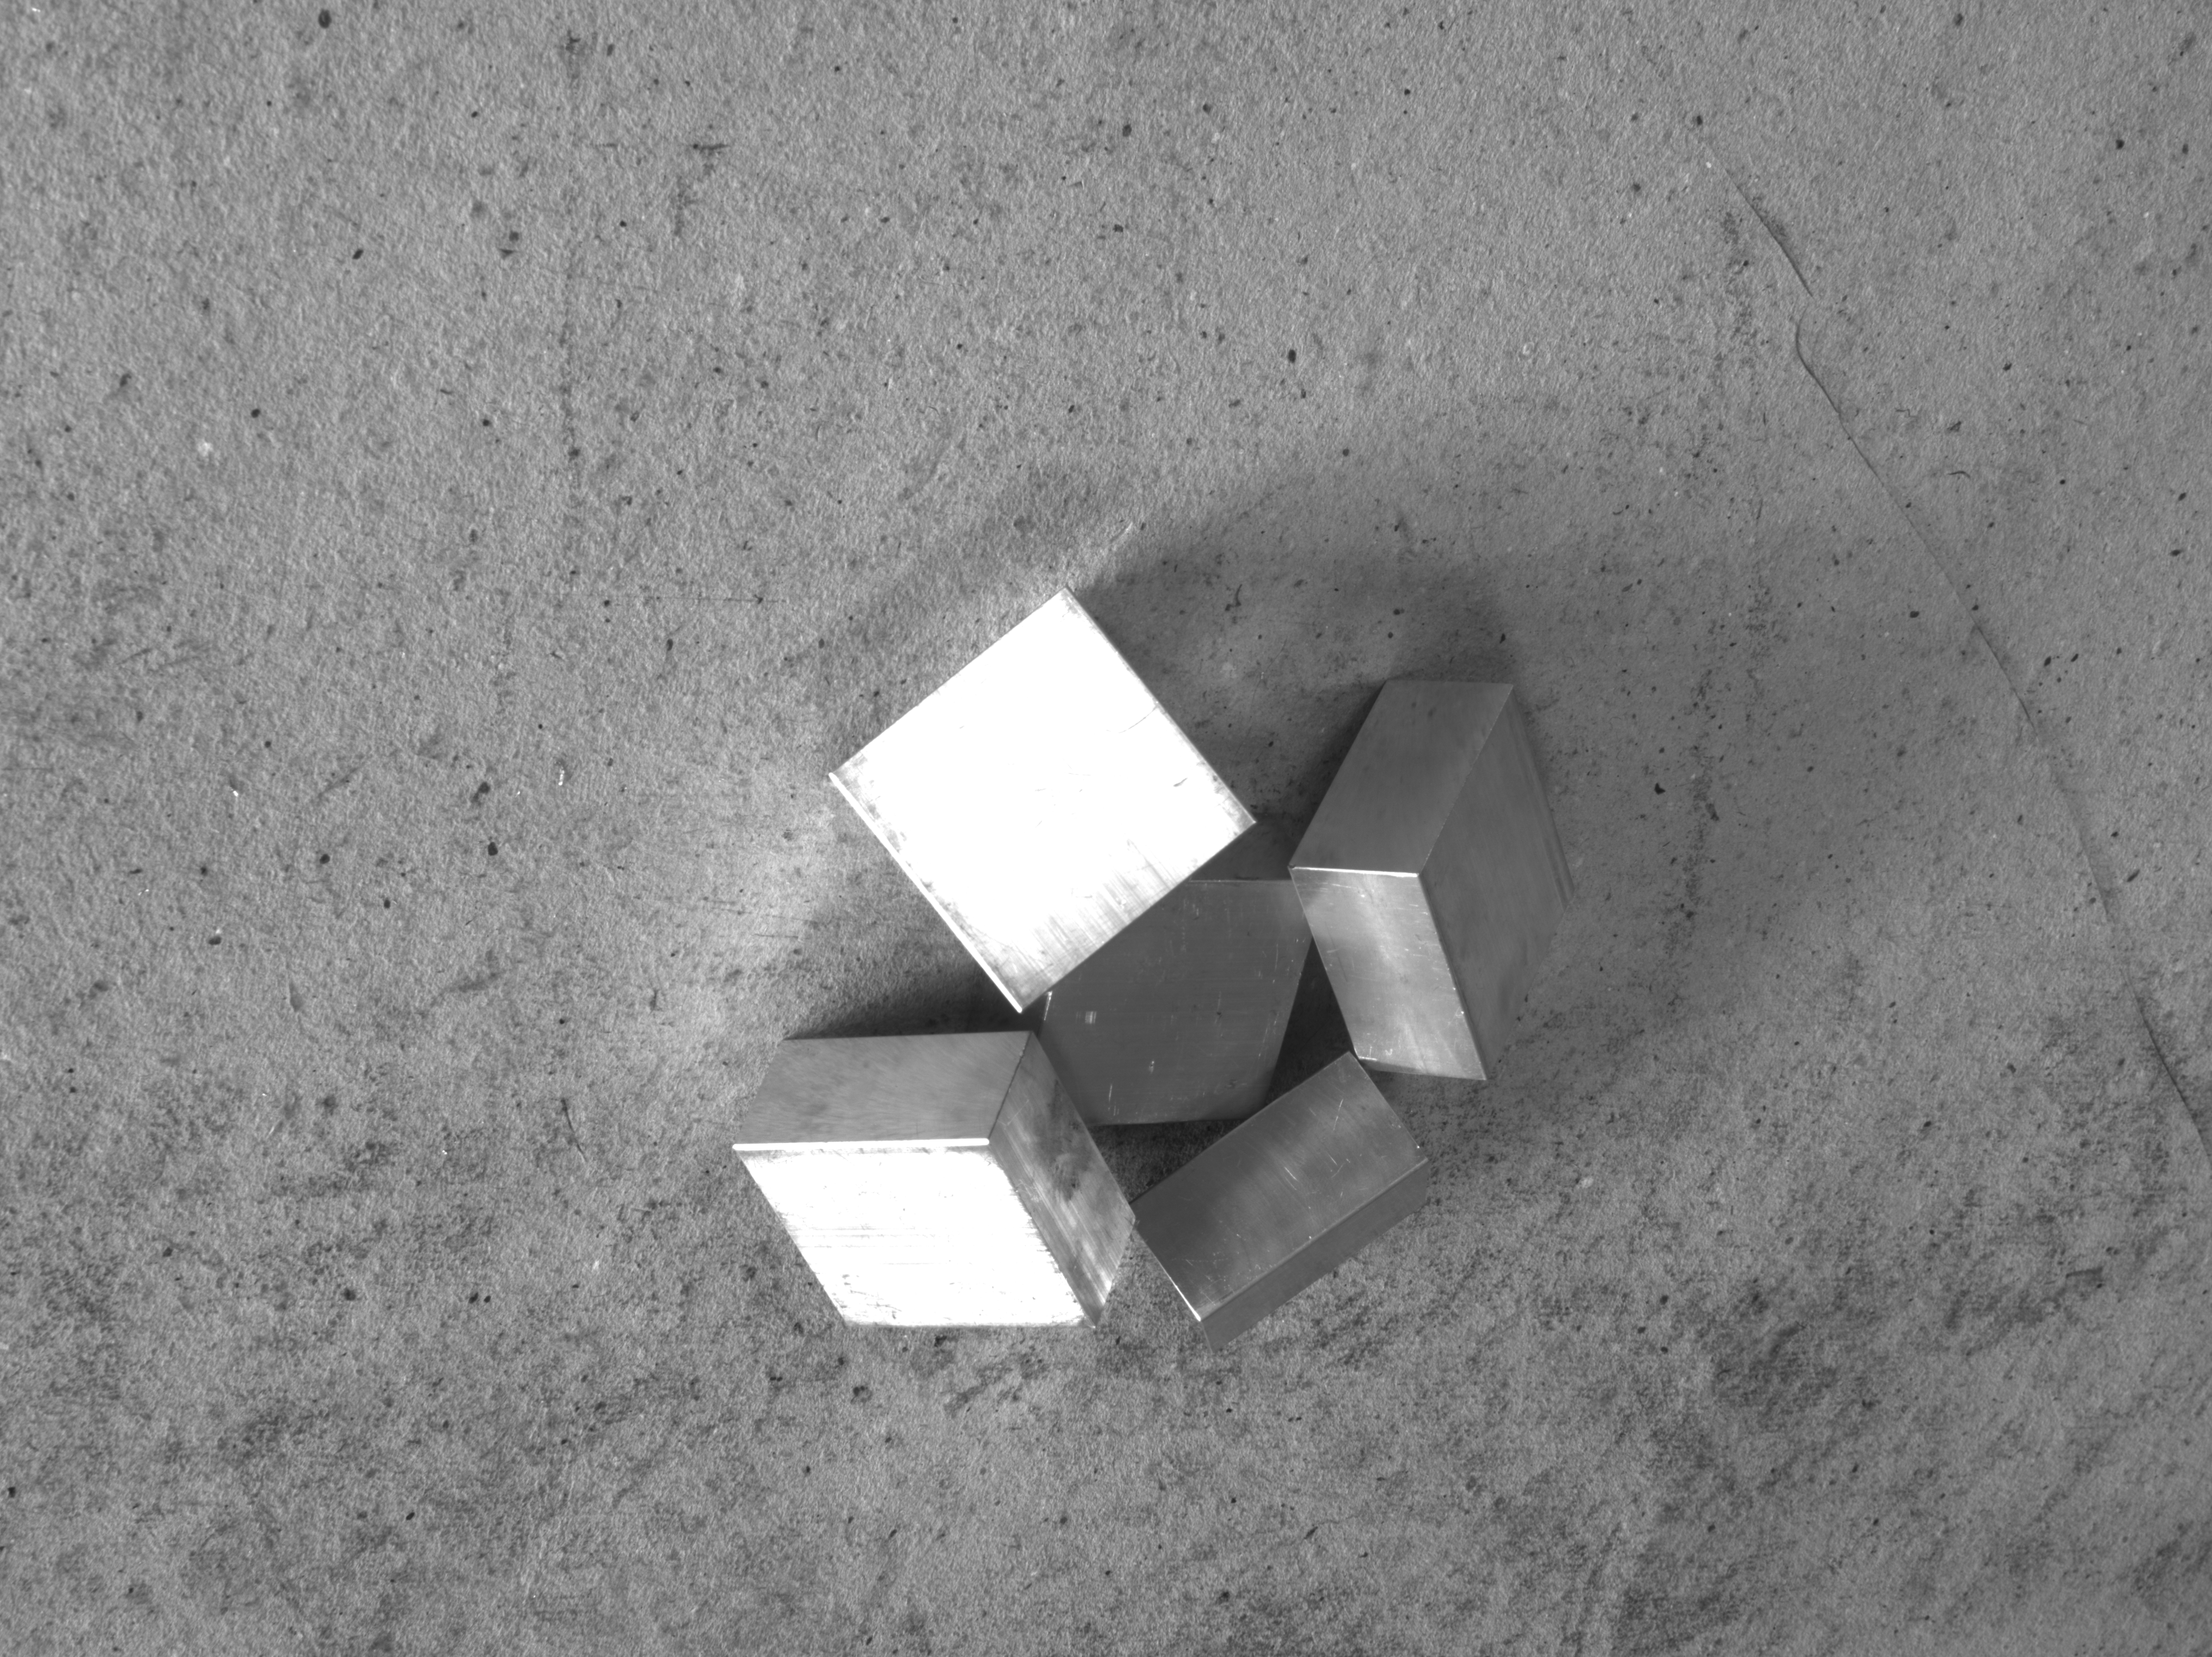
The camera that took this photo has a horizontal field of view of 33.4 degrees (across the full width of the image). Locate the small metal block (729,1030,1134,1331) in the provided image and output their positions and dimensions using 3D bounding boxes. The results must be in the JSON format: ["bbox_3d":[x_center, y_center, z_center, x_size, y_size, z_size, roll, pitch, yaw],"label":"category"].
[{"bbox_3d":[-0.030,0.062,0.642,0.050,0.025,0.050,-4,133,27],"label":"small metal block"}]

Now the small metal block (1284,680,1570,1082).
[{"bbox_3d":[0.058,0.009,0.659,0.050,0.025,0.050,-61,142,-39],"label":"small metal block"}]

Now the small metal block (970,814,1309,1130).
[{"bbox_3d":[0.006,0.025,0.656,0.050,0.025,0.050,-1,119,-29],"label":"small metal block"}]

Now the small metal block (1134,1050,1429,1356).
[{"bbox_3d":[0.032,0.070,0.681,0.050,0.025,0.050,-35,166,-5],"label":"small metal block"}]

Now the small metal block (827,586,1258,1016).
[{"bbox_3d":[-0.010,-0.004,0.614,0.050,0.025,0.050,-39,88,-3],"label":"small metal block"}]
